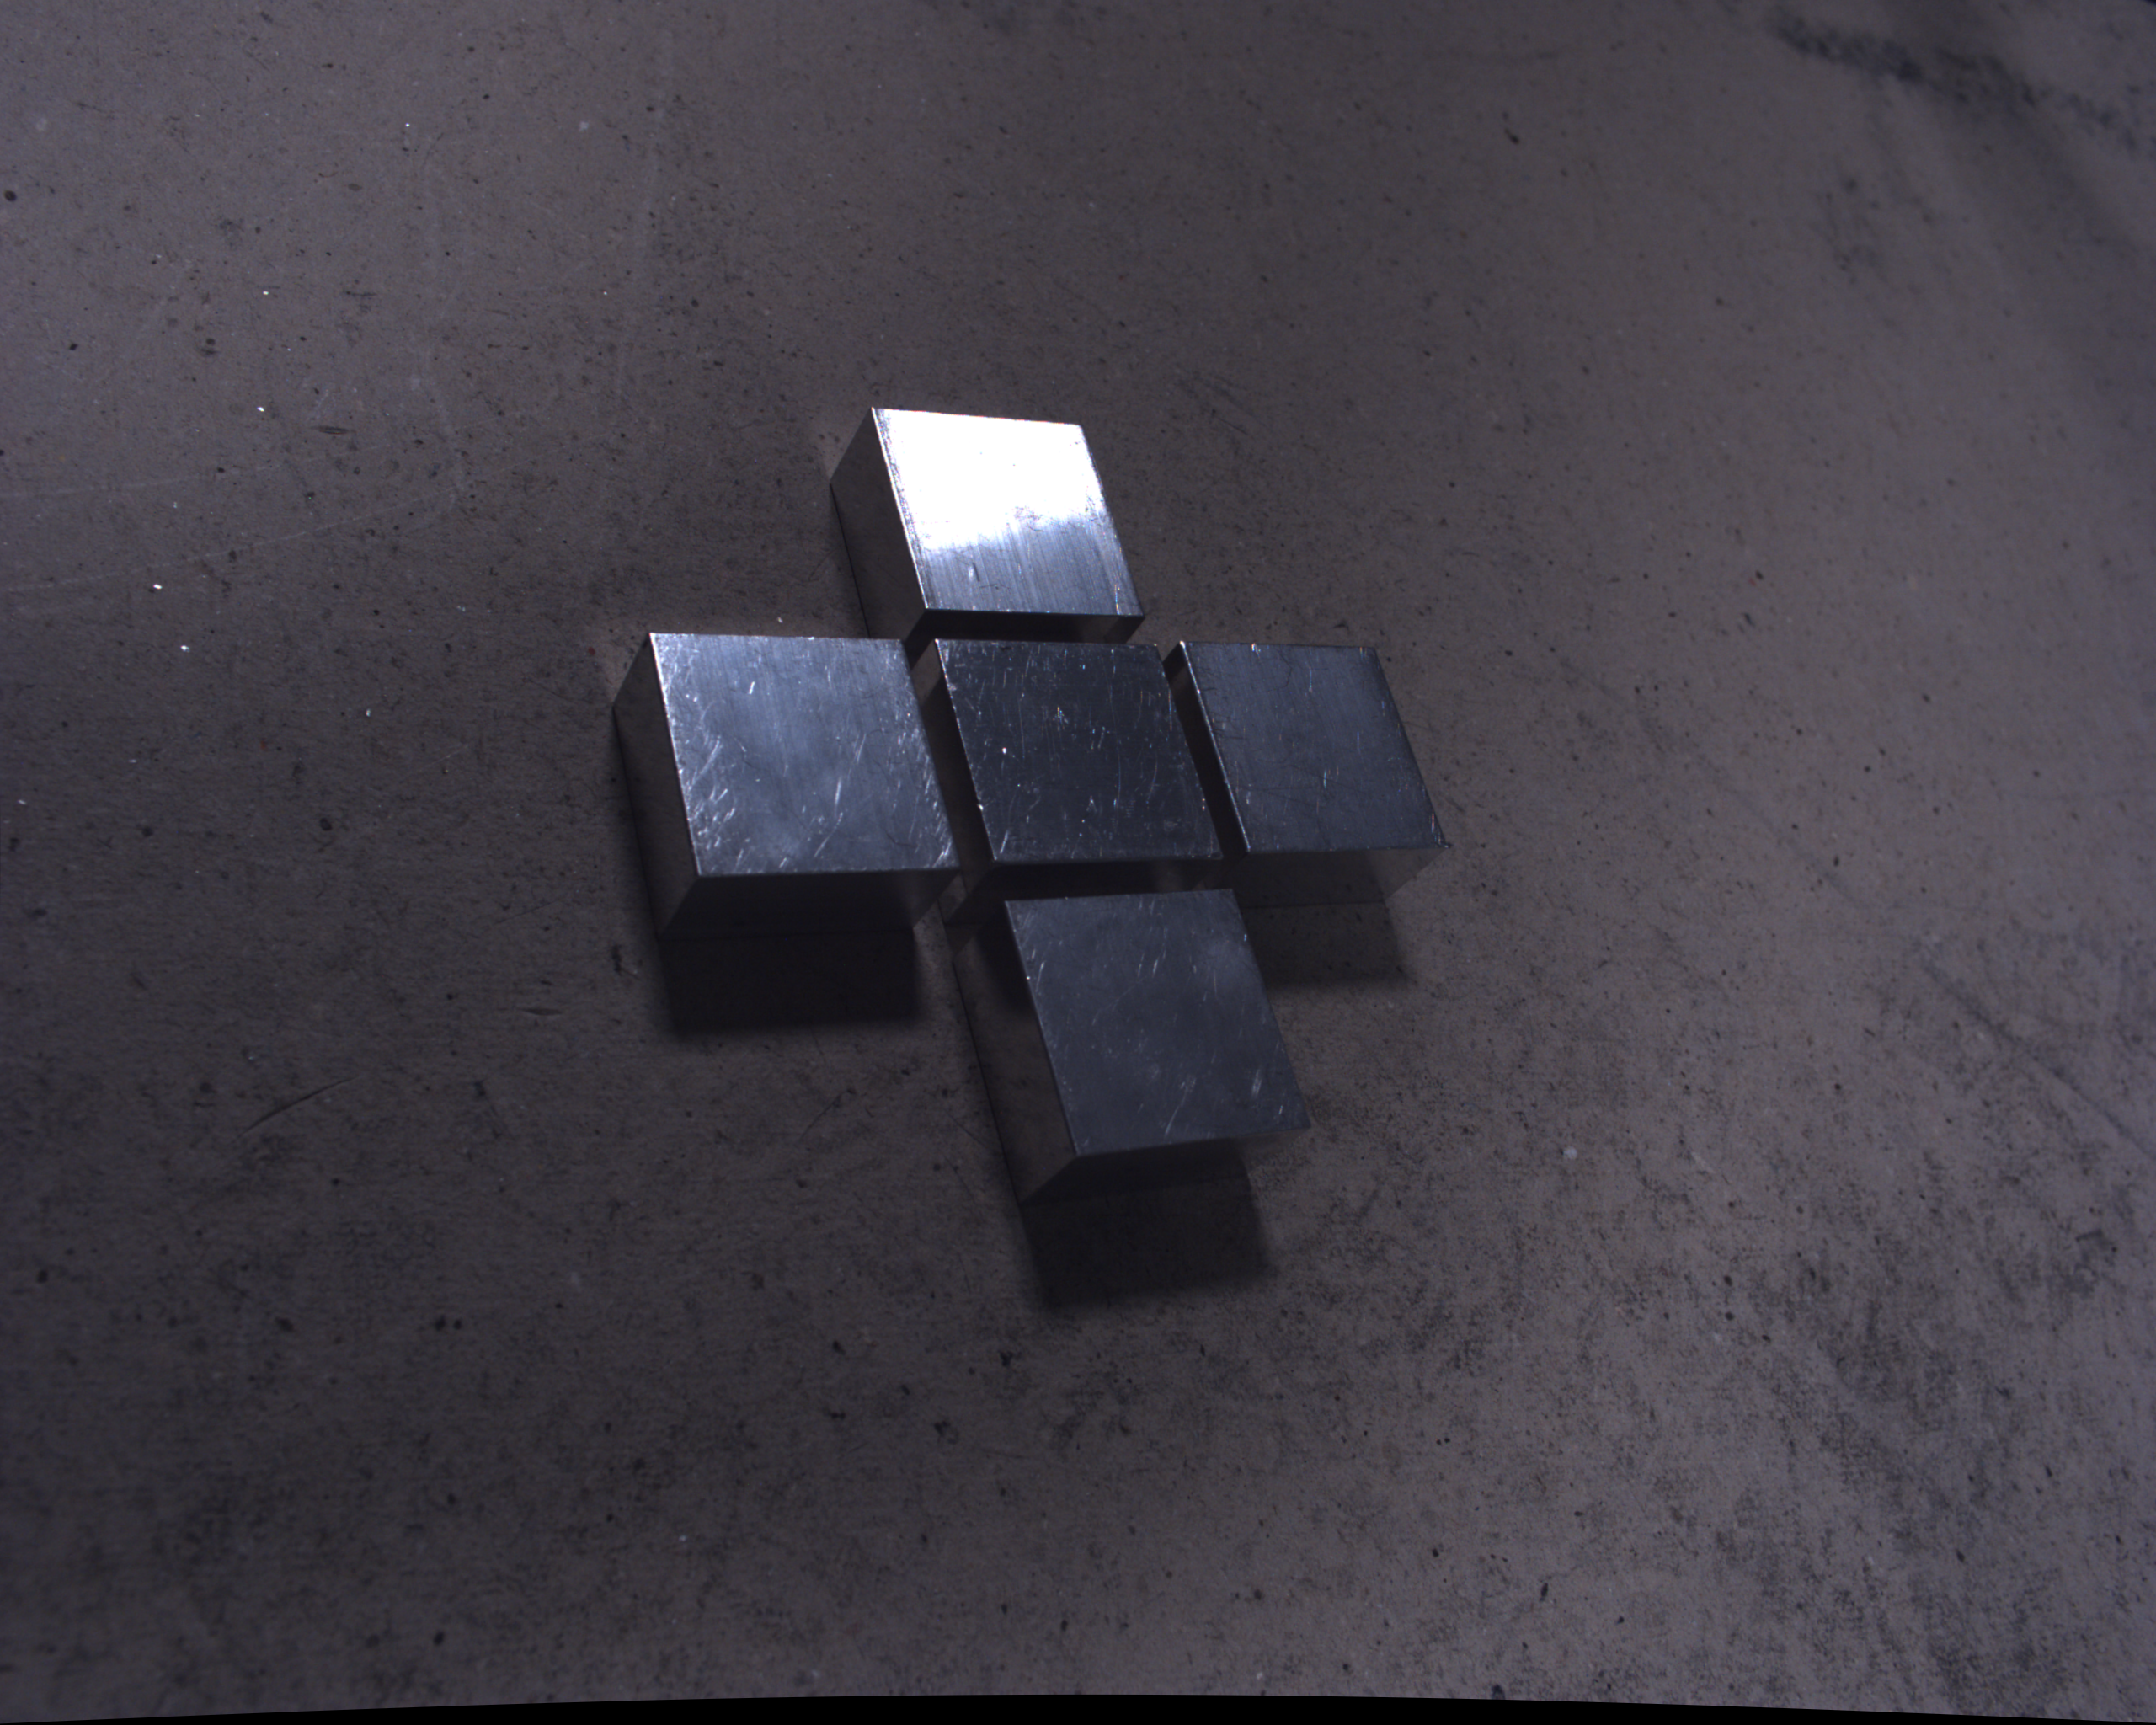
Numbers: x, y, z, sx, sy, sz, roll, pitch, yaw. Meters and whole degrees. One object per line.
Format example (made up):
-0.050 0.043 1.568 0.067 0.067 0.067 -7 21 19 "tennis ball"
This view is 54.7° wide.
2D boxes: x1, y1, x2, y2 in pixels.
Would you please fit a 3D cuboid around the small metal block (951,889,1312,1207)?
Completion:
0.009 0.034 0.391 0.050 0.025 0.050 -2 63 -30 "small metal block"

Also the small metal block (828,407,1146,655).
-0.020 -0.066 0.436 0.050 0.025 0.050 -2 63 -30 "small metal block"

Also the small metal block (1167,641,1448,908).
0.044 -0.019 0.442 0.050 0.025 0.050 -2 63 -30 "small metal block"

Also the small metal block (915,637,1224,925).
-0.005 -0.016 0.414 0.050 0.025 0.050 -2 63 -30 "small metal block"

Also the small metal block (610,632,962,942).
-0.055 -0.014 0.386 0.050 0.025 0.050 -2 63 -30 "small metal block"
